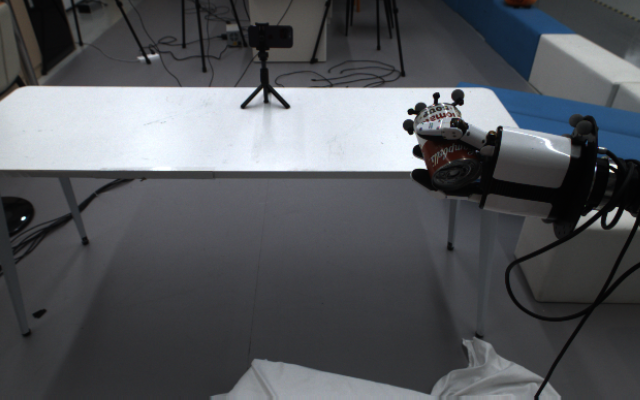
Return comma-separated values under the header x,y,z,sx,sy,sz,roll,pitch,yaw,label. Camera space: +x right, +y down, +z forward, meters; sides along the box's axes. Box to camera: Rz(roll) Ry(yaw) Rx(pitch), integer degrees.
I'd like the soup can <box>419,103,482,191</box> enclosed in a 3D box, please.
x,y,z,sx,sy,sz,roll,pitch,yaw,label
0.172,-0.074,0.660,0.067,0.067,0.101,-5,57,-10,soup can
